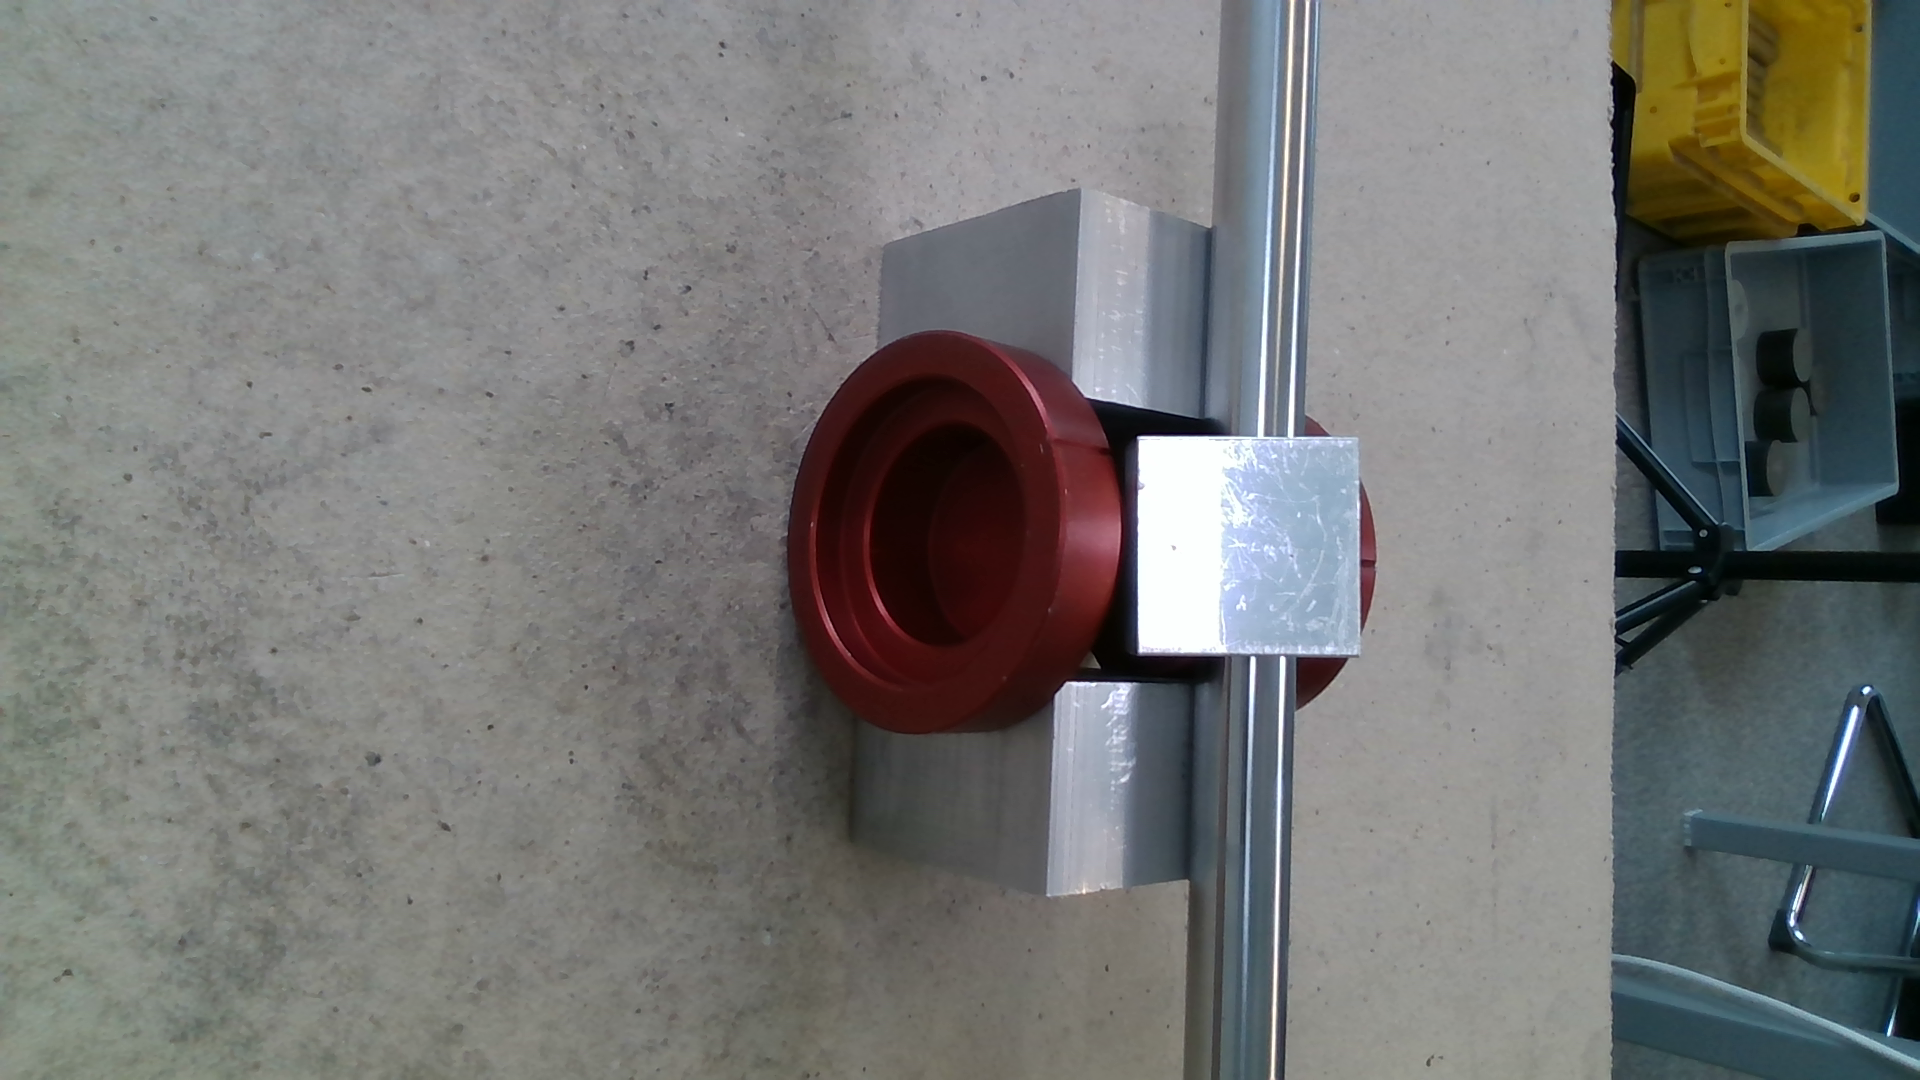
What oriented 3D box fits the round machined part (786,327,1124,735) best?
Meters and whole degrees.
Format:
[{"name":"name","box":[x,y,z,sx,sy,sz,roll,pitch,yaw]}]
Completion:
[{"name":"round machined part","box":[0.003,-0.001,0.346,0.042,0.098,0.098,6,86,-45]}]

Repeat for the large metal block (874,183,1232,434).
[{"name":"large metal block","box":[0.032,-0.057,0.383,0.080,0.080,0.050,6,86,-40]}]

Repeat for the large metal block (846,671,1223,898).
[{"name":"large metal block","box":[0.026,0.061,0.378,0.080,0.080,0.050,5,87,-40]}]

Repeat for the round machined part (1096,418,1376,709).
[{"name":"round machined part","box":[0.067,0.005,0.400,0.042,0.098,0.098,5,87,-39]}]

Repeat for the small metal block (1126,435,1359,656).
[{"name":"small metal block","box":[0.065,0.002,0.324,0.050,0.025,0.050,0,88,0]}]

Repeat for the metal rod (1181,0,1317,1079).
[{"name":"metal rod","box":[0.073,0.005,0.349,0.025,0.025,0.300,4,88,-40]}]
